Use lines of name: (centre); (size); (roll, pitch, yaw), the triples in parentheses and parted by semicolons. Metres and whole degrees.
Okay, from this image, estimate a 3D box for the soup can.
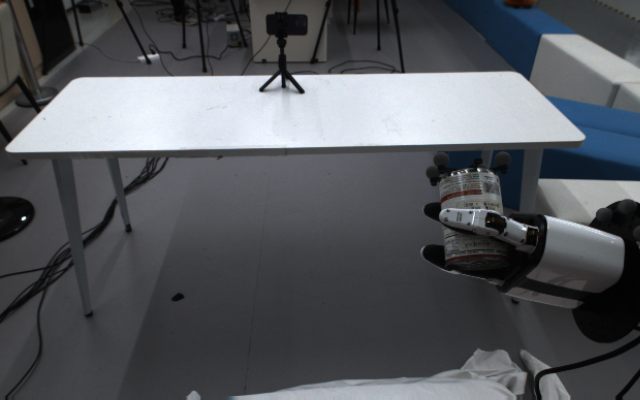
soup can: (0.172, 0.023, 0.540); (0.067, 0.067, 0.101); (1, 72, -2)
